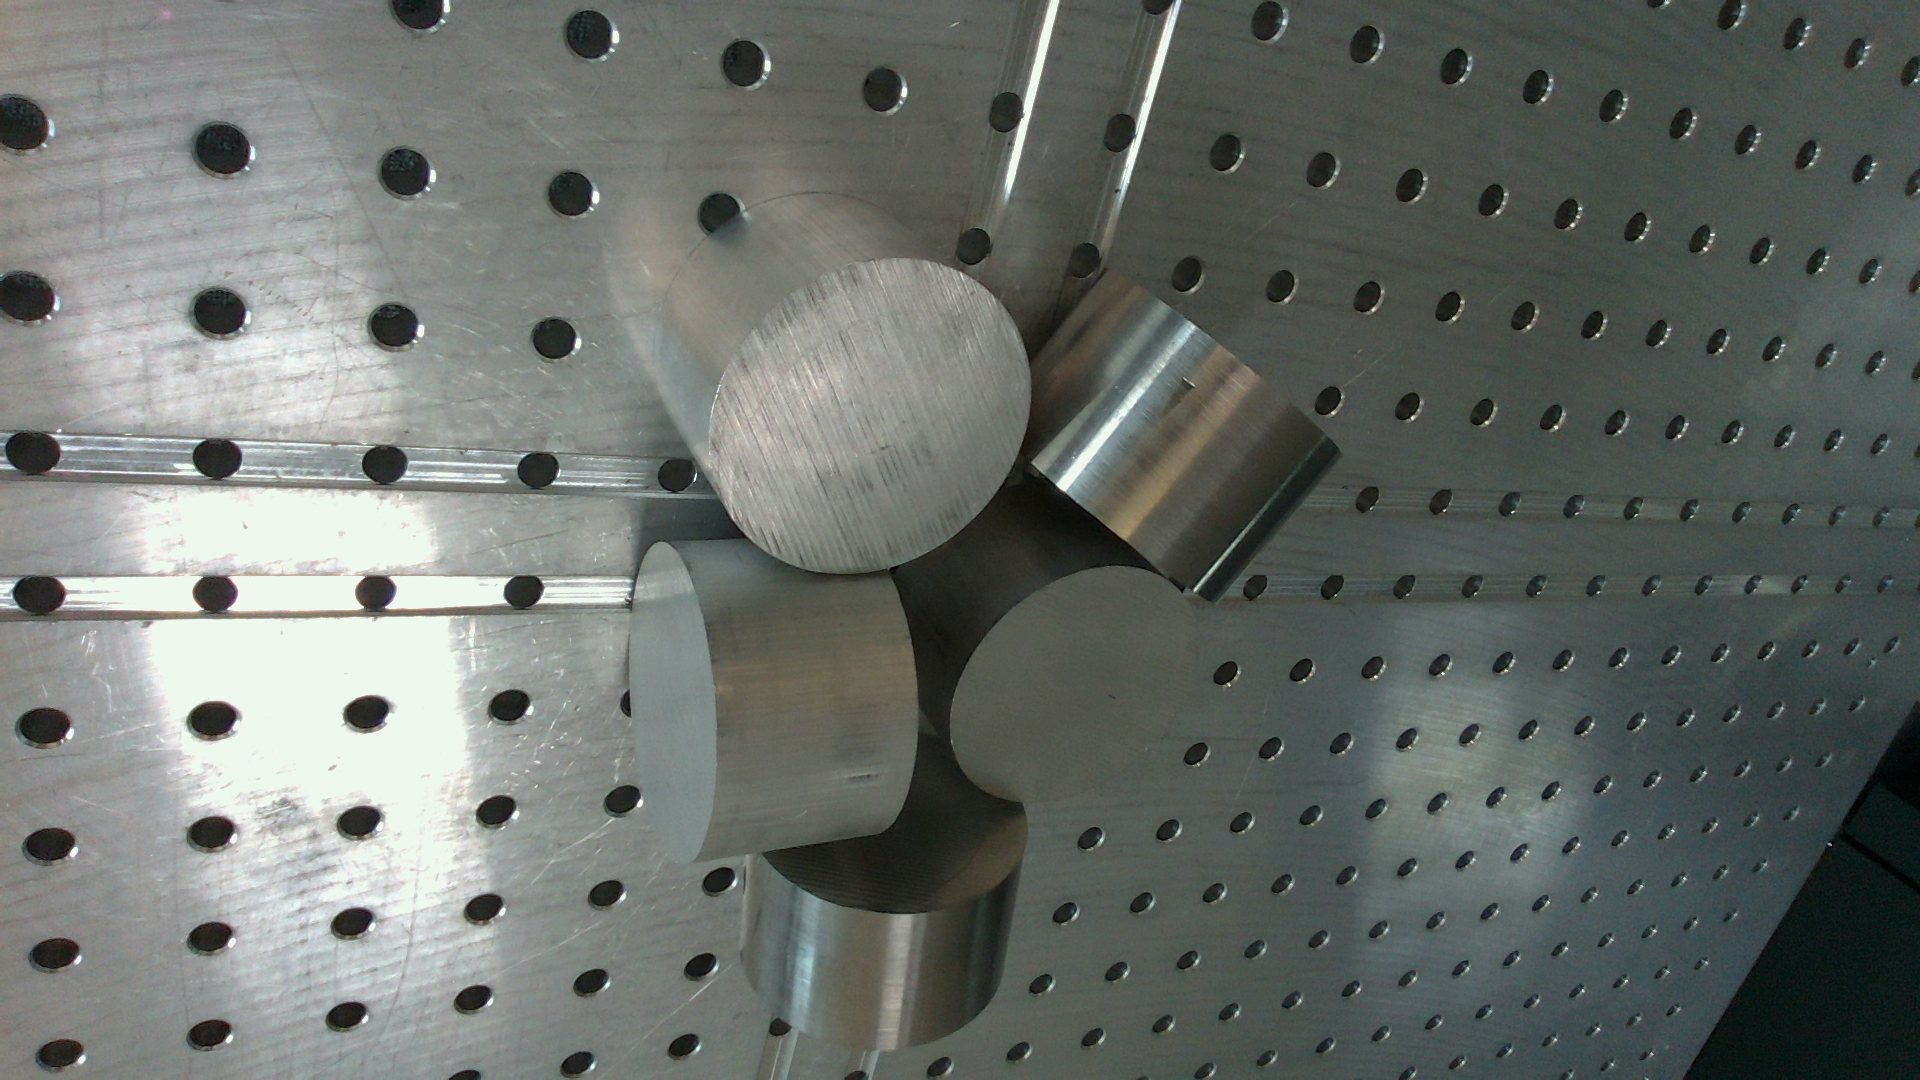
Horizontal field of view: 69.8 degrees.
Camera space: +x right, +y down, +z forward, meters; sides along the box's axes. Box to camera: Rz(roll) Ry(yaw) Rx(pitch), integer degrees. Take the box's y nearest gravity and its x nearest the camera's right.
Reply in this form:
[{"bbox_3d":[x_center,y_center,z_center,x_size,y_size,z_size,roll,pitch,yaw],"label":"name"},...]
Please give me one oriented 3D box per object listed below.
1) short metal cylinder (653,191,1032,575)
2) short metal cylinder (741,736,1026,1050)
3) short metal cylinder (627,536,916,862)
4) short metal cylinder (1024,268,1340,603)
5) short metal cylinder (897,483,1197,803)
[{"bbox_3d":[-0.029,-0.039,0.336,0.080,0.050,0.080,-13,124,-20],"label":"short metal cylinder"},{"bbox_3d":[-0.024,0.100,0.405,0.080,0.080,0.050,-6,122,-25],"label":"short metal cylinder"},{"bbox_3d":[-0.051,0.039,0.354,0.050,0.080,0.080,-3,120,-27],"label":"short metal cylinder"},{"bbox_3d":[0.054,-0.028,0.369,0.080,0.080,0.050,32,100,-38],"label":"short metal cylinder"},{"bbox_3d":[0.022,0.030,0.407,0.080,0.050,0.080,-14,125,-21],"label":"short metal cylinder"}]
